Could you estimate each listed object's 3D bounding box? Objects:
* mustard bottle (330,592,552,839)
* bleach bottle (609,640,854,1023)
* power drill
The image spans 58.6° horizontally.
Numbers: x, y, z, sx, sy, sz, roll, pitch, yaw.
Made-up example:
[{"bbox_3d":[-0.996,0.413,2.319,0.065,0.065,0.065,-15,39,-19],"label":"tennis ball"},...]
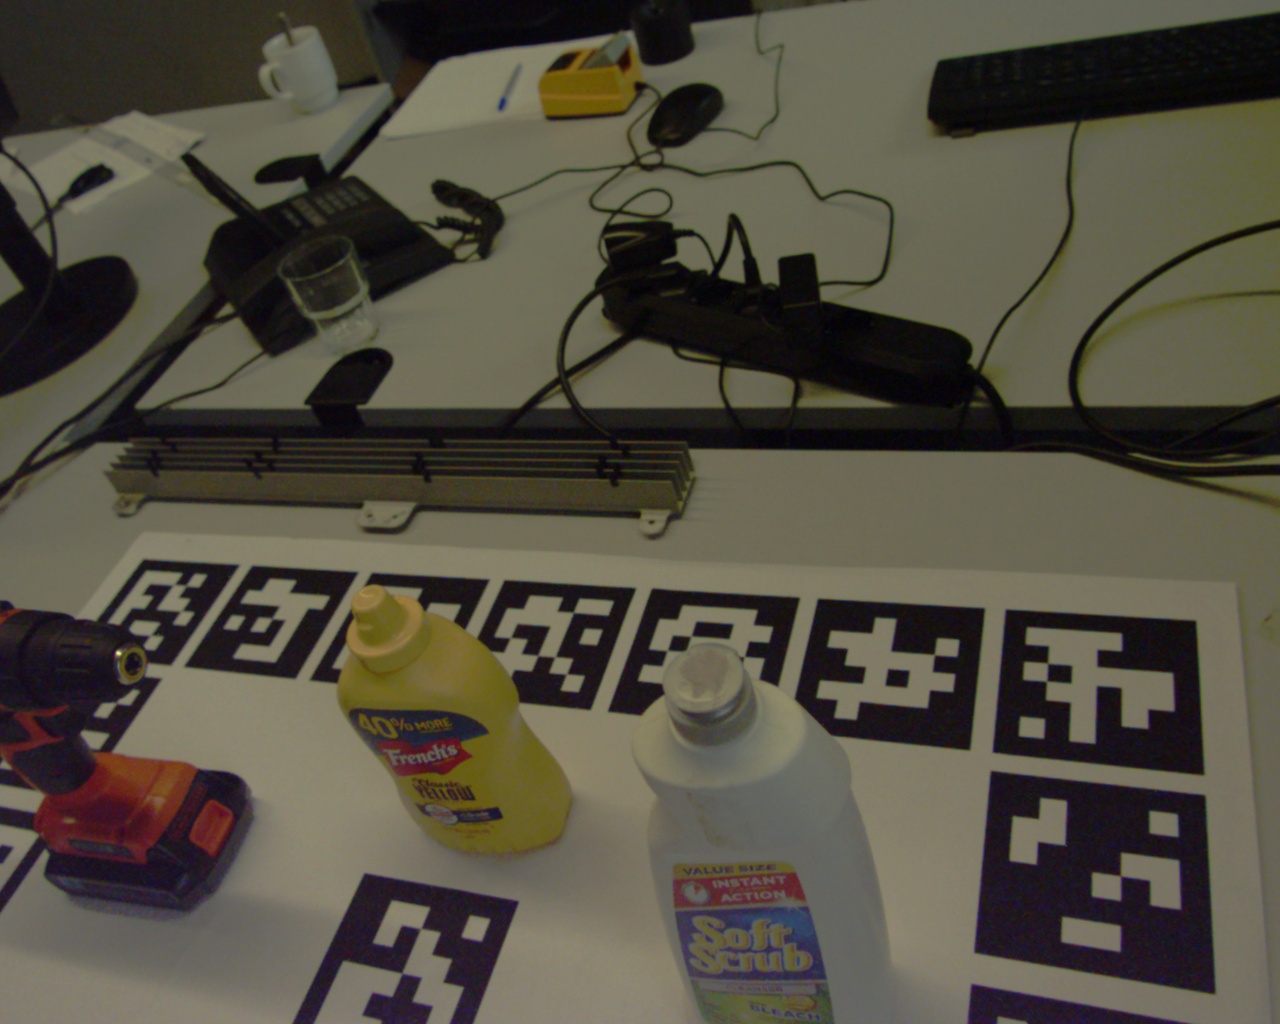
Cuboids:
[{"bbox_3d":[-0.119,0.113,0.642,0.097,0.190,0.058,-2,45,15],"label":"mustard bottle"},{"bbox_3d":[0.033,0.144,0.505,0.104,0.249,0.067,9,49,27],"label":"bleach bottle"},{"bbox_3d":[-0.316,0.117,0.666,0.186,0.185,0.057,-5,44,21],"label":"power drill"}]
